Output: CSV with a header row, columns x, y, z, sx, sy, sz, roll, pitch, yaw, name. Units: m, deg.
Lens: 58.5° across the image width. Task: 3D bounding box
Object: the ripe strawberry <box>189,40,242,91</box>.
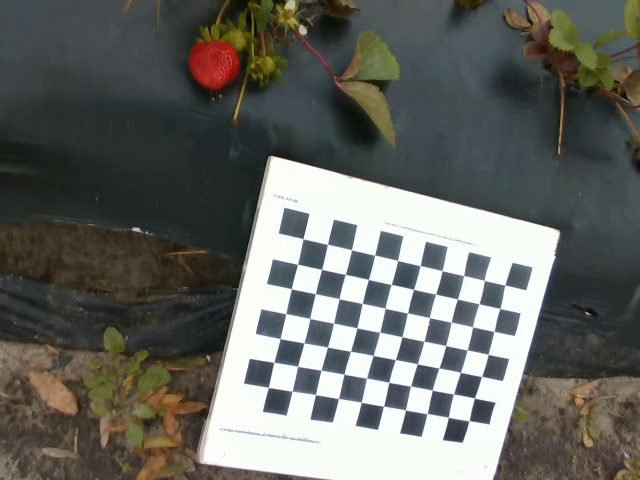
x,y,z,sx,sy,sz,roll,pitch,yaw,name
-0.024,-0.042,0.148,0.018,0.017,0.014,21,-44,-23,ripe strawberry
